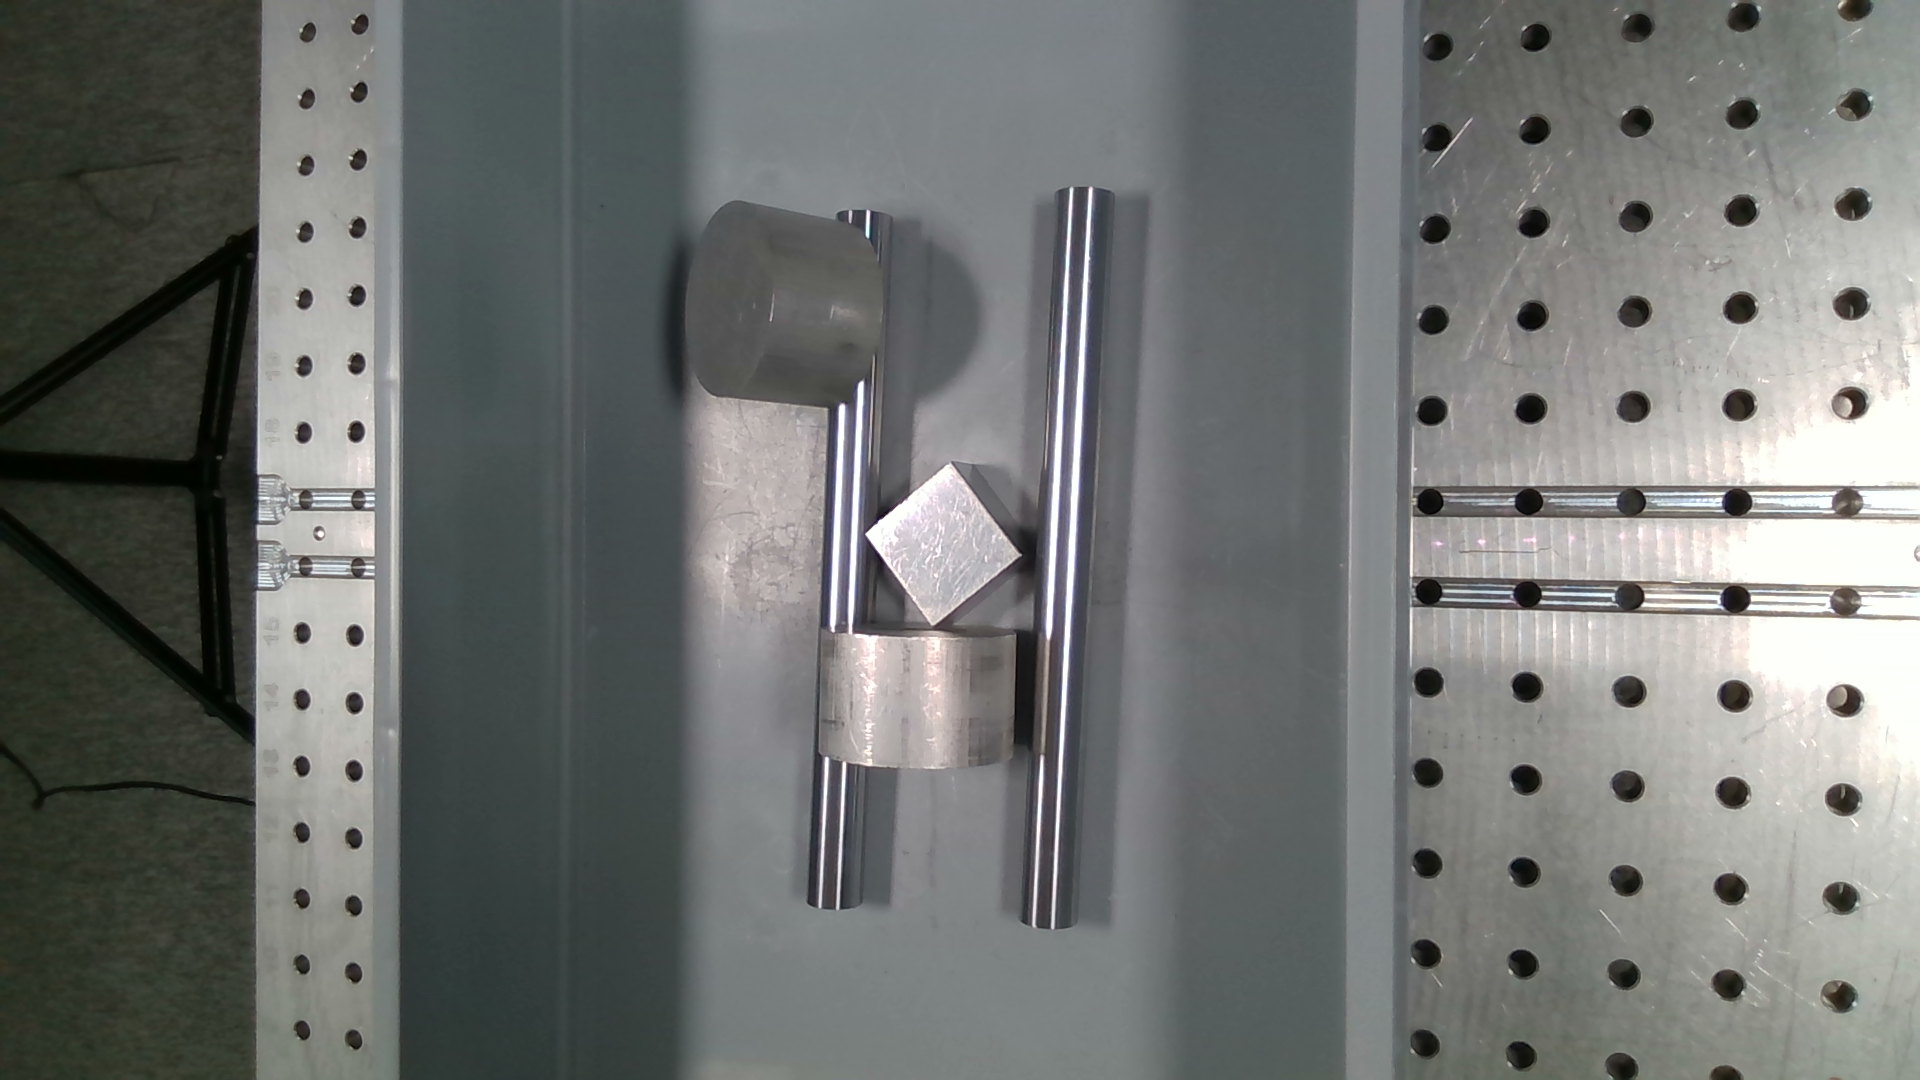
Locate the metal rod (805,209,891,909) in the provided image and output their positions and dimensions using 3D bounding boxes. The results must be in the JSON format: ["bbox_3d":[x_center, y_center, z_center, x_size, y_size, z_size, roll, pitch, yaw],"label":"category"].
[{"bbox_3d":[-0.049,0.009,0.602,0.025,0.025,0.300,3,92,20],"label":"metal rod"}]

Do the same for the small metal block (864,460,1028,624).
[{"bbox_3d":[-0.004,0.002,0.586,0.050,0.025,0.050,-40,78,16],"label":"small metal block"}]

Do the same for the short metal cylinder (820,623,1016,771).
[{"bbox_3d":[-0.018,0.062,0.562,0.080,0.080,0.050,2,91,20],"label":"short metal cylinder"}]

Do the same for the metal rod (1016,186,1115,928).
[{"bbox_3d":[0.043,0.008,0.568,0.025,0.025,0.300,4,92,20],"label":"metal rod"}]

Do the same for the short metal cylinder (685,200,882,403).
[{"bbox_3d":[-0.076,-0.098,0.579,0.080,0.050,0.080,-3,86,54],"label":"short metal cylinder"}]
